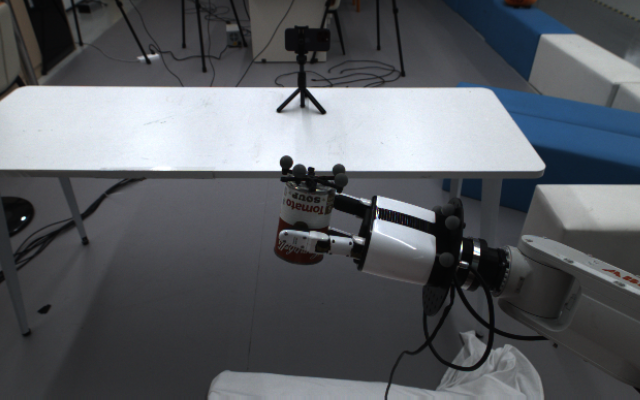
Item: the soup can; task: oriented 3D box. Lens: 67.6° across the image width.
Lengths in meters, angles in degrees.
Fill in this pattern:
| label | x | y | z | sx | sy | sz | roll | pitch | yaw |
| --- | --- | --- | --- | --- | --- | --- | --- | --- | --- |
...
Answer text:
| label | x | y | z | sx | sy | sz | roll | pitch | yaw |
| --- | --- | --- | --- | --- | --- | --- | --- | --- | --- |
| soup can | -0.018 | 0.024 | 0.632 | 0.067 | 0.101 | 0.067 | 9 | 20 | -3 |
